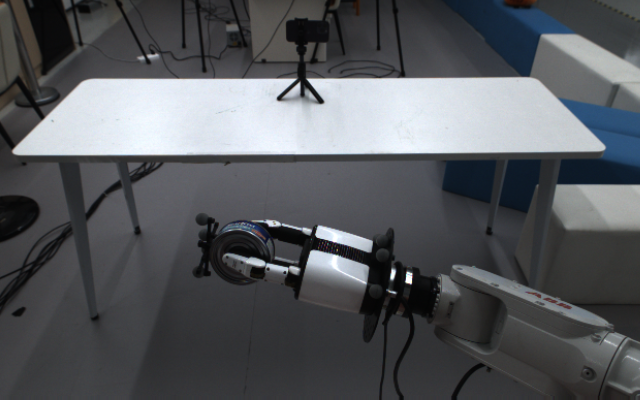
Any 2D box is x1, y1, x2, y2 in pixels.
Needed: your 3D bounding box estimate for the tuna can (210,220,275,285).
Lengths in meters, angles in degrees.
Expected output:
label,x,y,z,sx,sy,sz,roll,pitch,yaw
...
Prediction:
label,x,y,z,sx,sy,sz,roll,pitch,yaw
tuna can,-0.104,0.072,0.662,0.085,0.085,0.034,4,18,3
